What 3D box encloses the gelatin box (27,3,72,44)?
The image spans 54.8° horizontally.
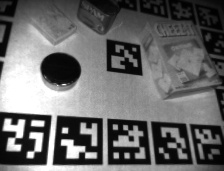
[{"bbox_3d":[-0.161,-0.162,0.562,0.089,0.030,0.074,45,57,1],"label":"gelatin box"}]

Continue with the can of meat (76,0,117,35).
[{"bbox_3d":[-0.048,-0.201,0.597,0.102,0.083,0.058,33,60,-1],"label":"can of meat"}]

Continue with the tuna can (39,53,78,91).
[{"bbox_3d":[-0.125,-0.031,0.509,0.086,0.033,0.085,7,68,-16],"label":"tuna can"}]

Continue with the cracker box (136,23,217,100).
[{"bbox_3d":[0.185,-0.078,0.628,0.166,0.072,0.212,-9,69,-24],"label":"cracker box"}]
